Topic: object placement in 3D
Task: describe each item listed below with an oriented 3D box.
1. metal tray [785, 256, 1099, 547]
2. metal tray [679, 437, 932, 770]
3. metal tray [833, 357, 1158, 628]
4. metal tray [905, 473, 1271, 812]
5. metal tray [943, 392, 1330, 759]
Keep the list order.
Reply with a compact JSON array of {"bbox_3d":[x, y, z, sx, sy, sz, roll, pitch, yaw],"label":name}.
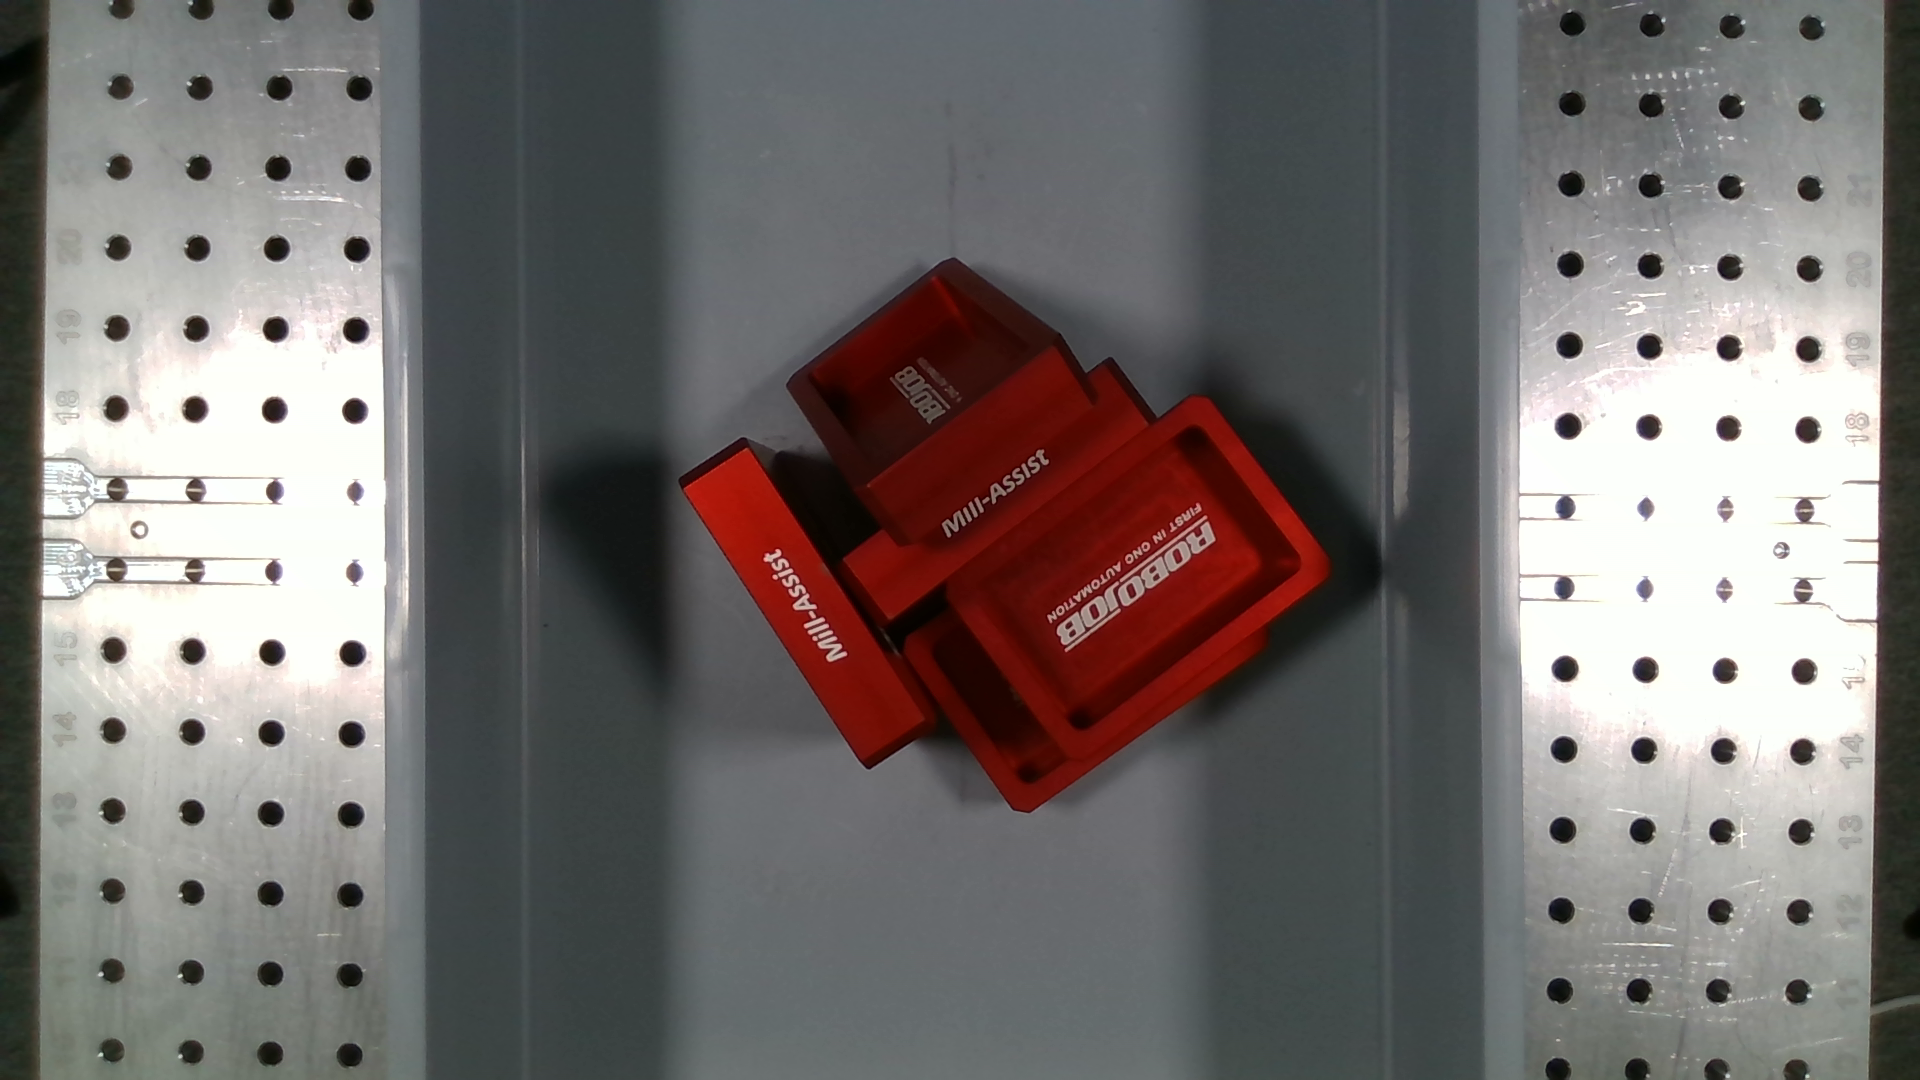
[{"bbox_3d":[-0.012,-0.058,0.534,0.090,0.130,0.030,-37,121,0],"label":"metal tray"},{"bbox_3d":[-0.058,0.024,0.553,0.030,0.090,0.130,-33,90,0],"label":"metal tray"},{"bbox_3d":[0.013,-0.018,0.552,0.130,0.090,0.030,-37,90,0],"label":"metal tray"},{"bbox_3d":[0.053,0.042,0.585,0.130,0.030,0.090,-34,89,-1],"label":"metal tray"},{"bbox_3d":[0.069,0.014,0.553,0.130,0.030,0.090,-36,90,0],"label":"metal tray"}]
